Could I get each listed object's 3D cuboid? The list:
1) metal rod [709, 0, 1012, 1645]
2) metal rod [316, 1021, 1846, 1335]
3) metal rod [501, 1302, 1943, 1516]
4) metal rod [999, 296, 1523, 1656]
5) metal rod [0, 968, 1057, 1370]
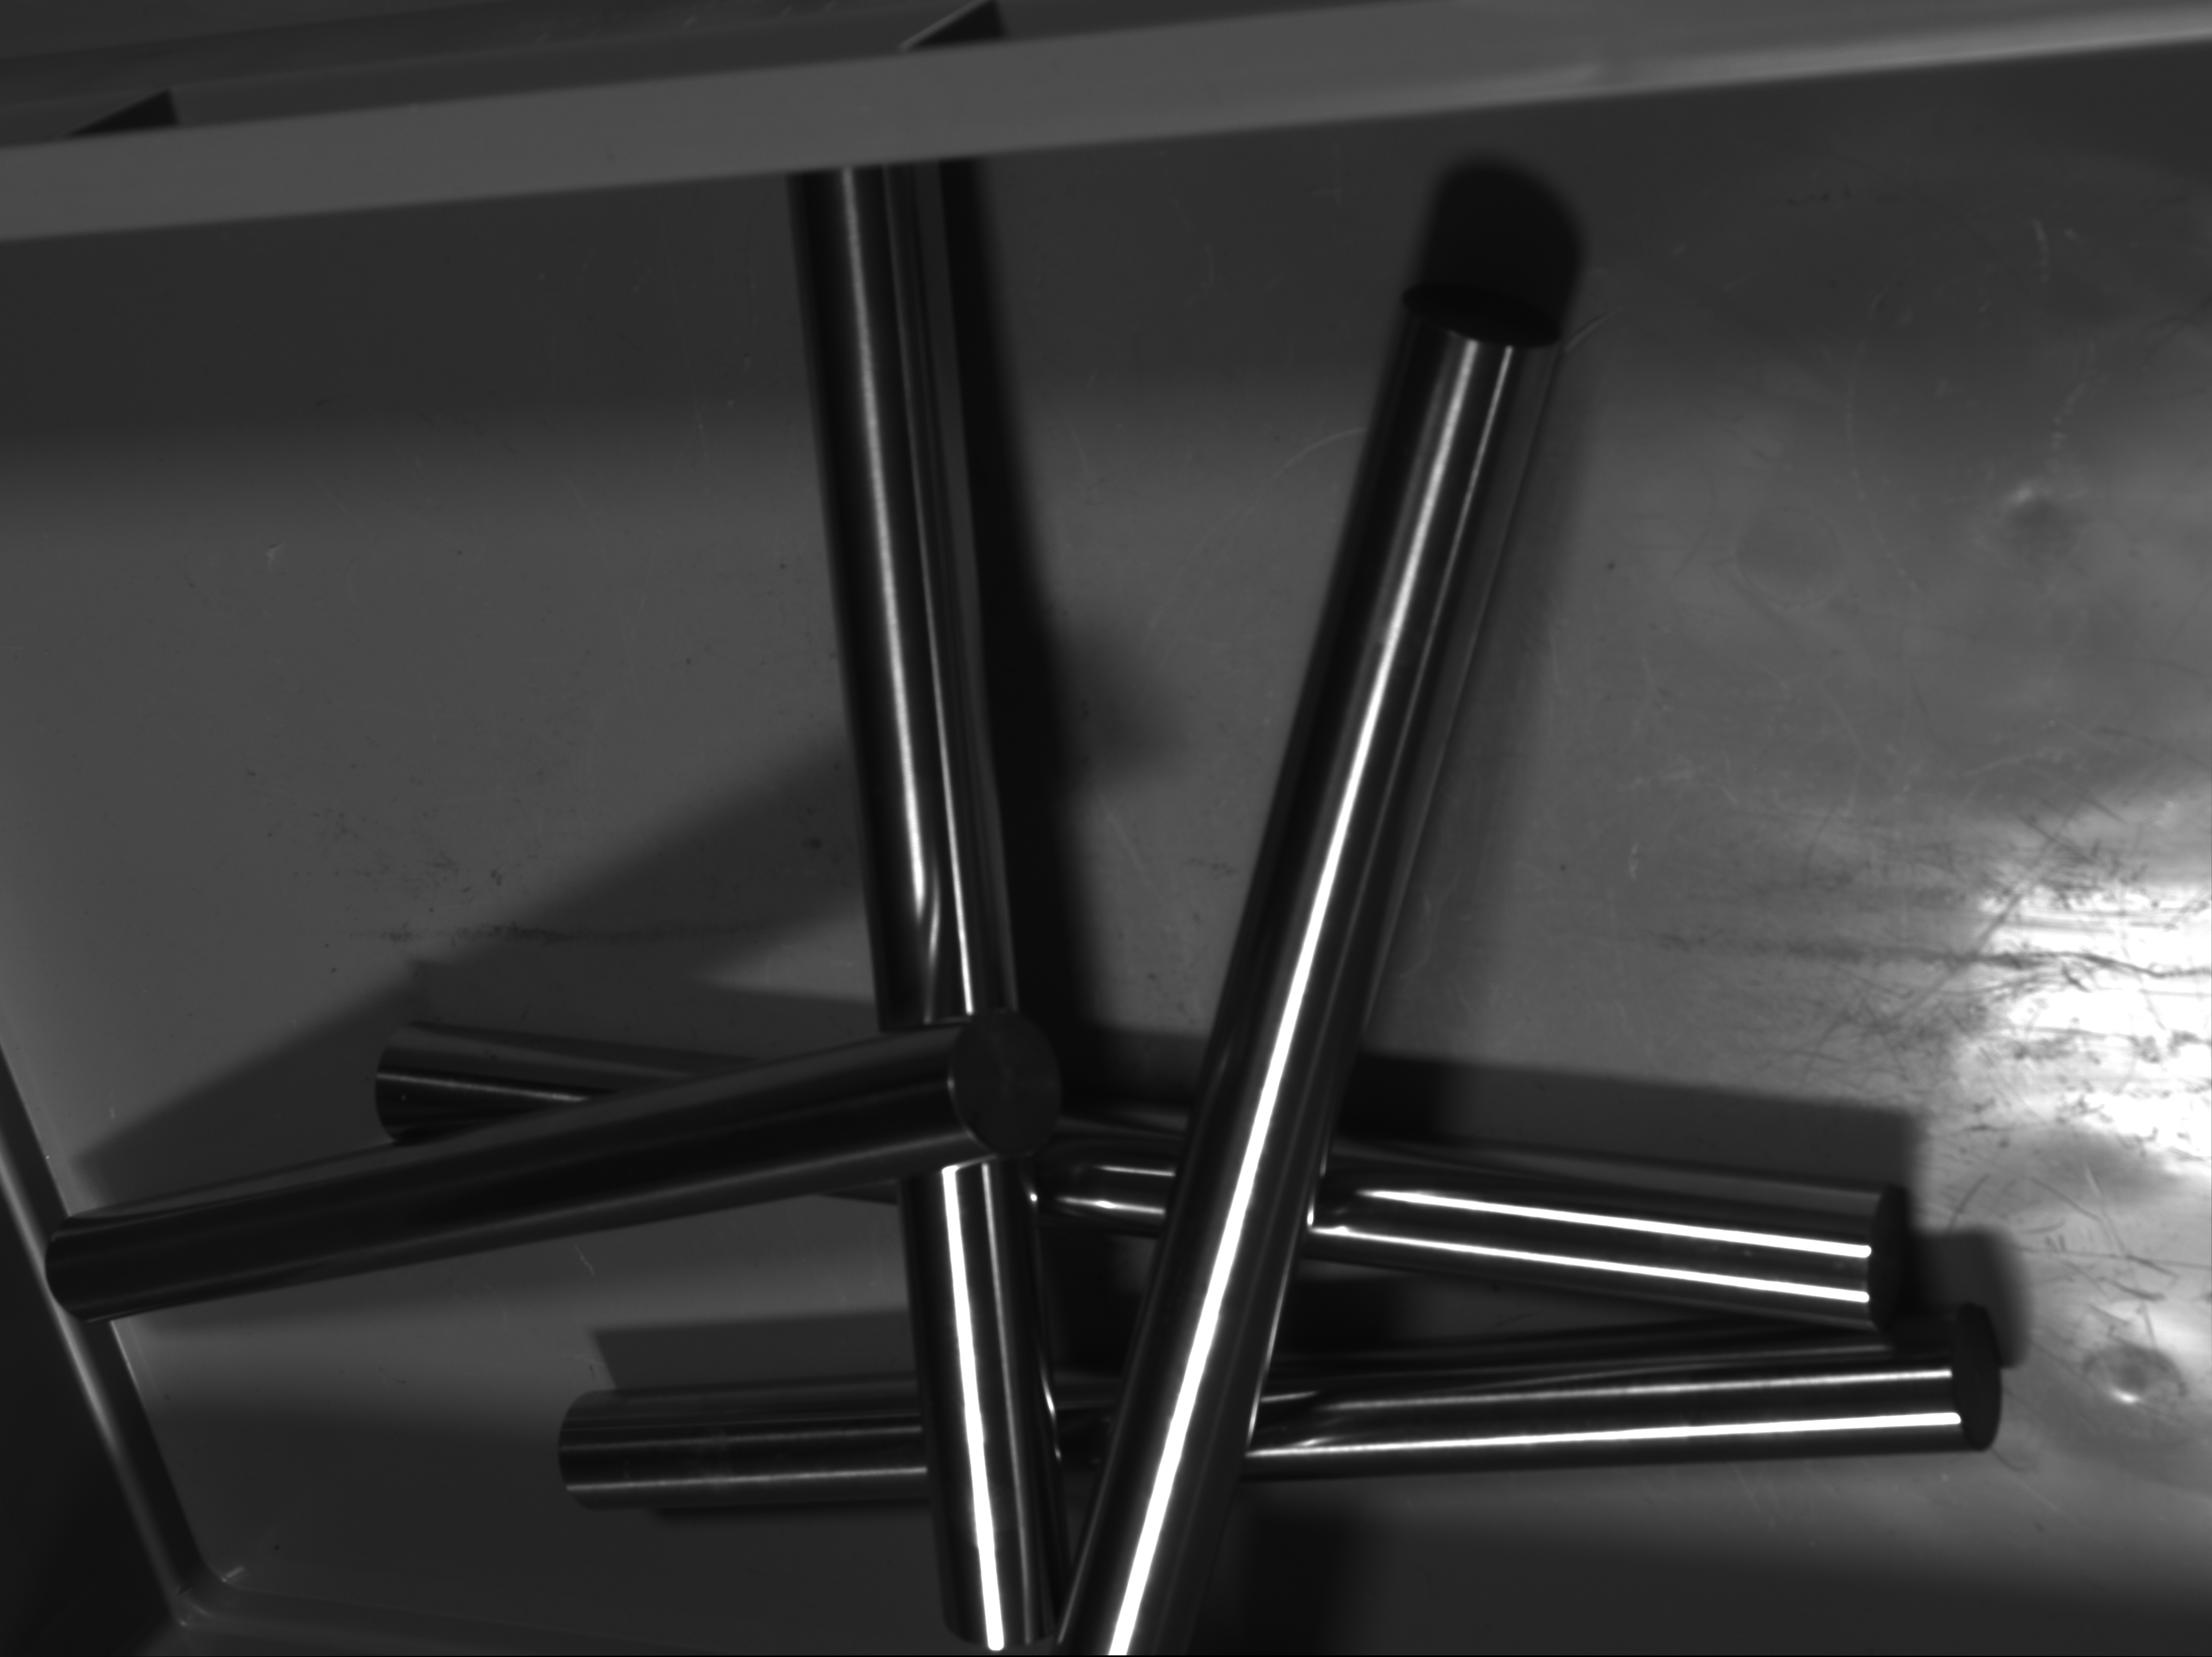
[{"bbox_3d":[-0.040,0.008,0.633,0.025,0.025,0.300,6,115,24],"label":"metal rod"},{"bbox_3d":[-0.015,0.062,0.674,0.299,0.025,0.025,4,120,24],"label":"metal rod"},{"bbox_3d":[0.009,0.112,0.692,0.299,0.025,0.025,-9,114,30],"label":"metal rod"},{"bbox_3d":[0.018,0.053,0.627,0.025,0.025,0.300,22,118,14],"label":"metal rod"},{"bbox_3d":[-0.127,0.071,0.704,0.299,0.025,0.025,-18,109,39],"label":"metal rod"}]
